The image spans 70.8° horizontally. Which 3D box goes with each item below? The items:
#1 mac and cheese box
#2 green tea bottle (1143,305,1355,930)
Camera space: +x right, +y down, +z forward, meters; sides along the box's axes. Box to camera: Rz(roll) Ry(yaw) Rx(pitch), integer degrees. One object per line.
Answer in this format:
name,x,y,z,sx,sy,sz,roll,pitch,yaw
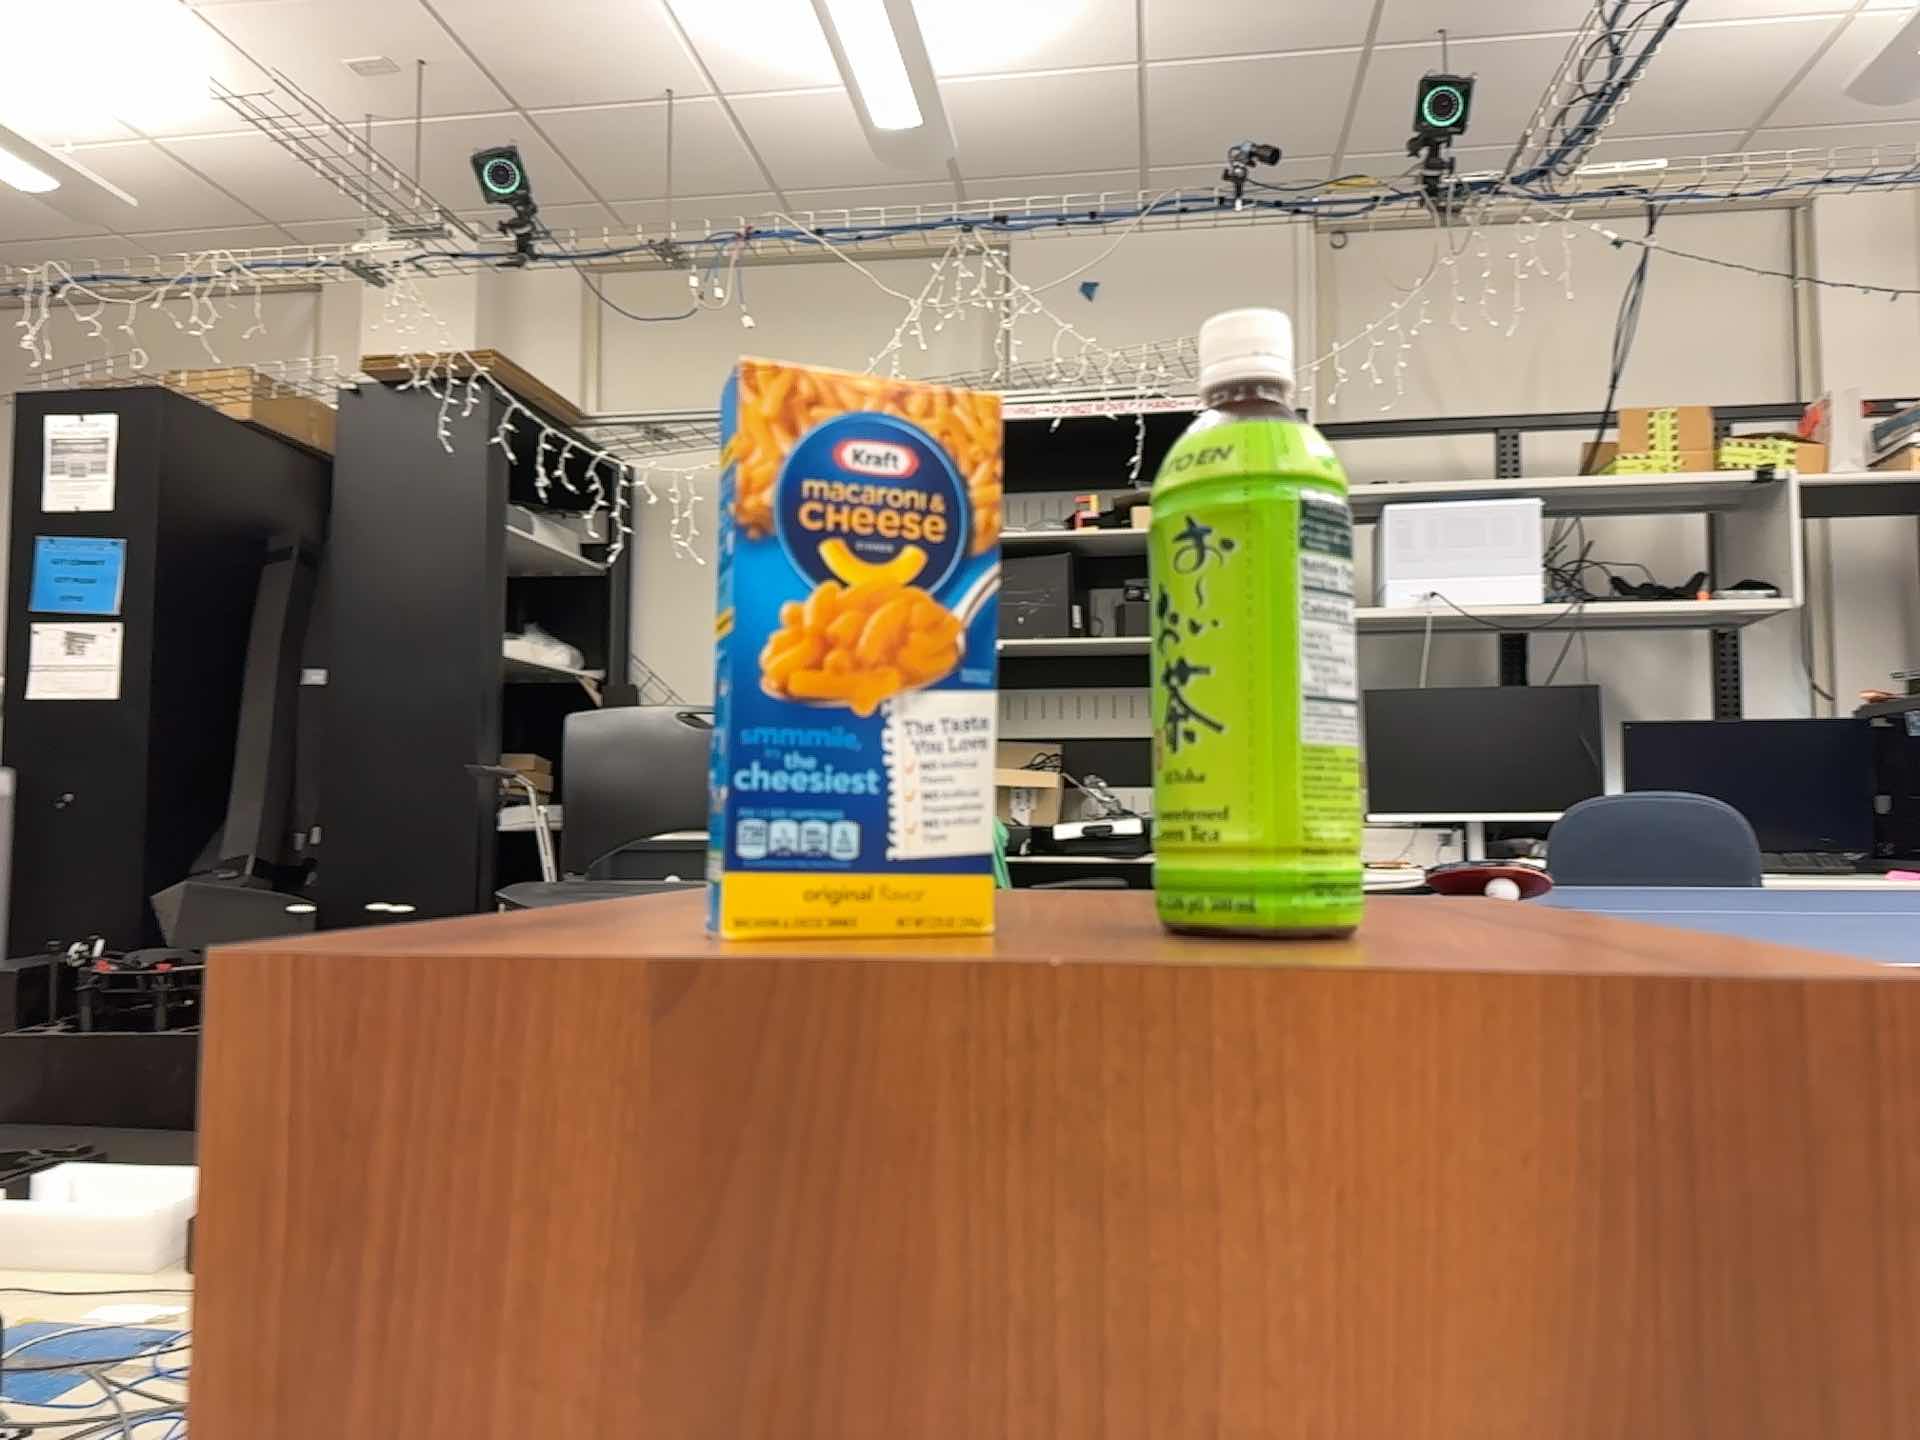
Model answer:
mac and cheese box,-0.036,-0.022,0.452,0.088,0.181,0.035,2,-7,-16
green tea bottle,0.098,-0.036,0.463,0.073,0.212,0.073,3,-8,0
